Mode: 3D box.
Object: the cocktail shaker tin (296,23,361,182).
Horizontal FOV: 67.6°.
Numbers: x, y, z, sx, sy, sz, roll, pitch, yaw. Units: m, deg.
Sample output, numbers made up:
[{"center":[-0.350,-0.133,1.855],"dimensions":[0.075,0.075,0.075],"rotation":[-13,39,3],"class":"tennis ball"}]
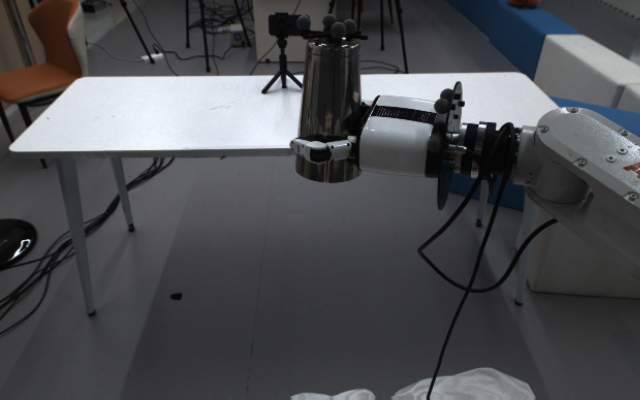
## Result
[{"center":[0.015,-0.120,0.632],"dimensions":[0.093,0.170,0.093],"rotation":[1,28,-1],"class":"cocktail shaker tin"}]
